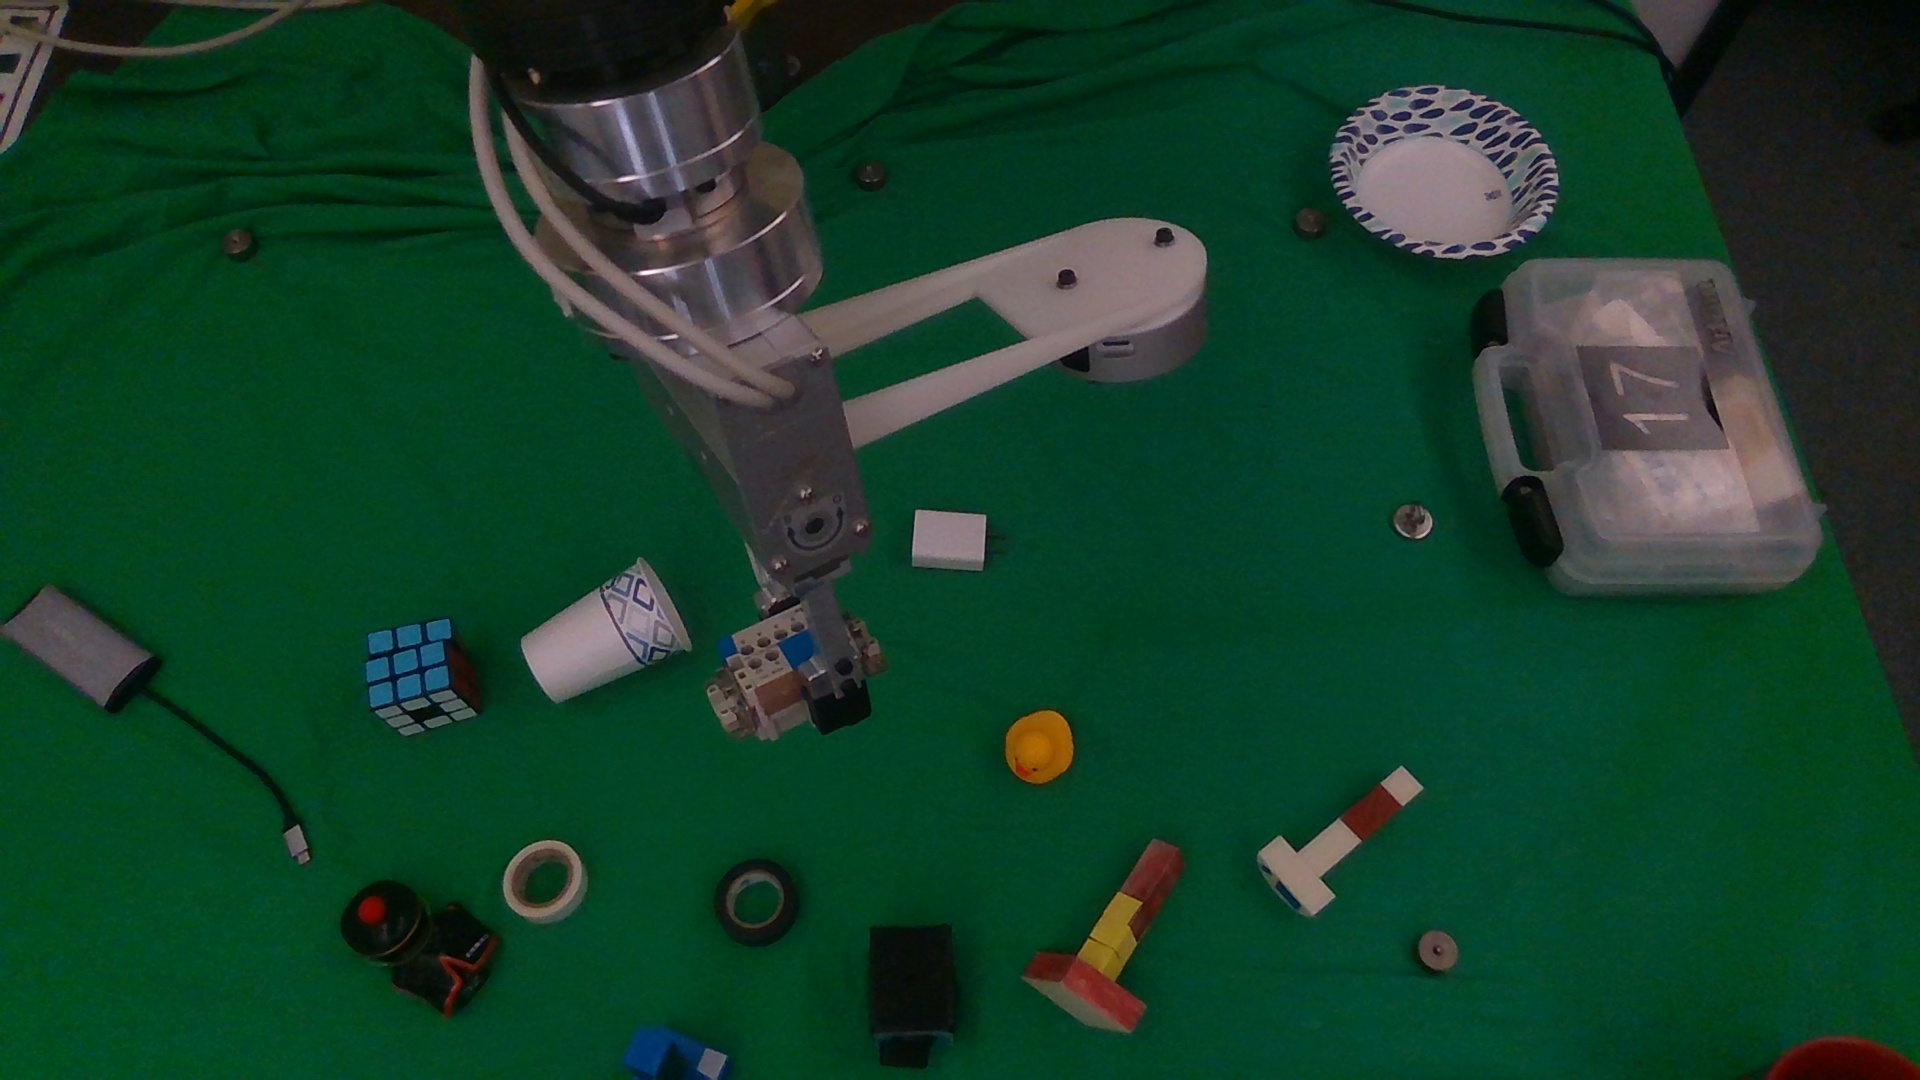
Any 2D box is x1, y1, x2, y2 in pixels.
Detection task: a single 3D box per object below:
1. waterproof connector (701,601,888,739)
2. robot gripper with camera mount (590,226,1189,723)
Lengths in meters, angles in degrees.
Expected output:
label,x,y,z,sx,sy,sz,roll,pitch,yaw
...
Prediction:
label,x,y,z,sx,sy,sz,roll,pitch,yaw
waterproof connector,-0.062,0.049,0.515,0.065,0.037,0.035,-26,45,-17
robot gripper with camera mount,-0.002,-0.043,0.504,0.193,0.158,0.119,-27,40,-22
